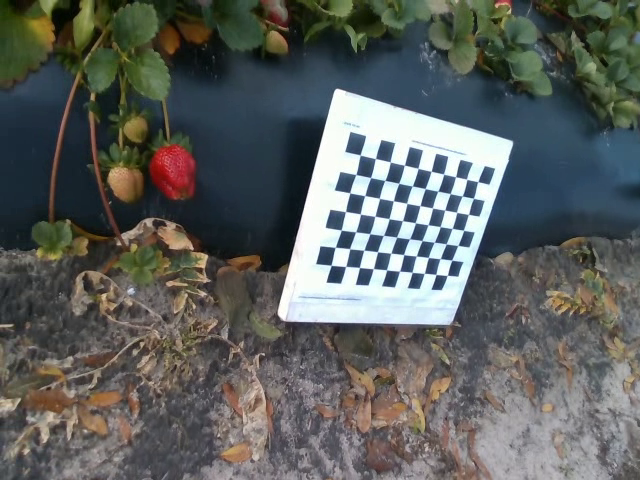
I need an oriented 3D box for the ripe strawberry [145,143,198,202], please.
[{"bbox_3d":[-0.151,-0.073,0.657,0.066,0.075,0.052,-14,26,-29],"label":"ripe strawberry"}]
